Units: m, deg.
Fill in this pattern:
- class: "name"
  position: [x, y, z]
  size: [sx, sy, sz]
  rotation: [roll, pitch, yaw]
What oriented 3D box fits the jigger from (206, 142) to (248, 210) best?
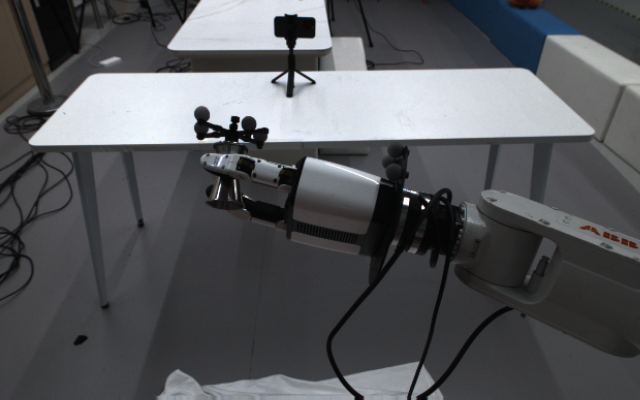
- class: "jigger"
  position: [-0.103, -0.027, 0.540]
  size: [0.043, 0.043, 0.071]
  rotation: [3, 76, 1]
